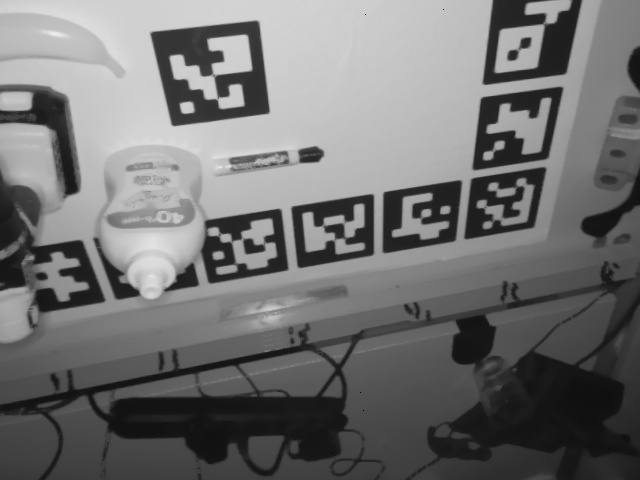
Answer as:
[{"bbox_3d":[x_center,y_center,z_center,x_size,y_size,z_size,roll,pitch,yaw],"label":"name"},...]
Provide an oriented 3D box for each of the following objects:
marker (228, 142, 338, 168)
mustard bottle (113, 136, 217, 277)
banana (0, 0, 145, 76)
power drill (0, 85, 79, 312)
[{"bbox_3d":[-0.040,-0.094,0.767,0.122,0.020,0.019,-6,127,-10],"label":"marker"},{"bbox_3d":[-0.150,-0.032,0.675,0.097,0.192,0.058,2,127,-13],"label":"mustard bottle"},{"bbox_3d":[-0.263,-0.186,0.630,0.199,0.039,0.073,-3,126,-15],"label":"banana"},{"bbox_3d":[-0.253,-0.058,0.607,0.058,0.188,0.182,4,128,-14],"label":"power drill"}]
